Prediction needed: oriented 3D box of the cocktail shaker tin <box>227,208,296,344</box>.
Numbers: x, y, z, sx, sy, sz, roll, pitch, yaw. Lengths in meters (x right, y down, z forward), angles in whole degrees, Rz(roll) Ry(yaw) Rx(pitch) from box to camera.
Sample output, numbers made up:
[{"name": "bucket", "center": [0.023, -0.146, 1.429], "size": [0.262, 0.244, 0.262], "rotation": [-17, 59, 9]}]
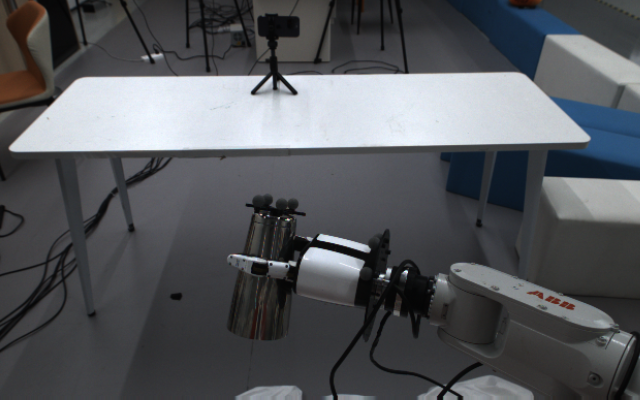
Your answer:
[{"name": "cocktail shaker tin", "center": [-0.078, 0.106, 0.708], "size": [0.093, 0.170, 0.093], "rotation": [9, 3, 0]}]
